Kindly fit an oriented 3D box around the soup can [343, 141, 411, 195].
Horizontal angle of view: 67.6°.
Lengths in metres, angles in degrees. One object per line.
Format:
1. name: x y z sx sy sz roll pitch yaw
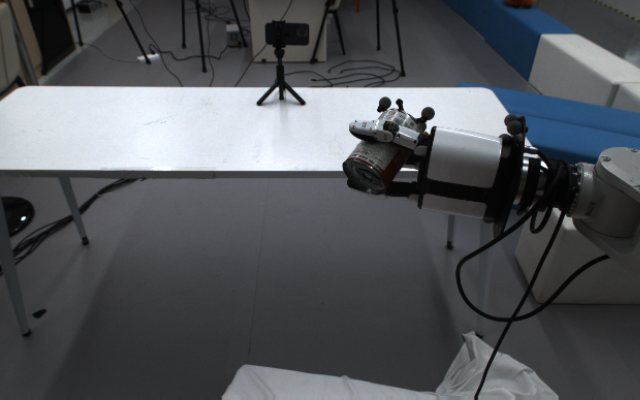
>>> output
1. soup can: 0.085 -0.068 0.658 0.067 0.067 0.101 26 66 30
